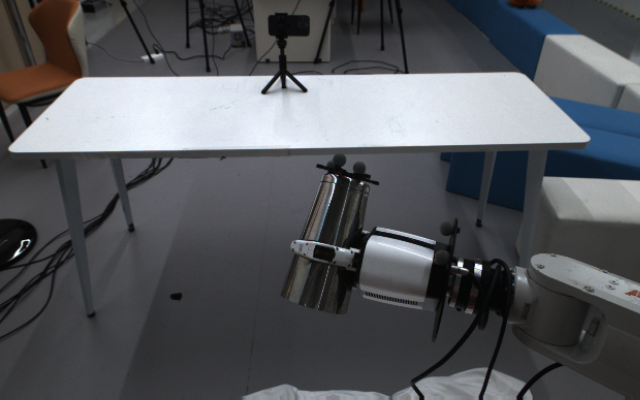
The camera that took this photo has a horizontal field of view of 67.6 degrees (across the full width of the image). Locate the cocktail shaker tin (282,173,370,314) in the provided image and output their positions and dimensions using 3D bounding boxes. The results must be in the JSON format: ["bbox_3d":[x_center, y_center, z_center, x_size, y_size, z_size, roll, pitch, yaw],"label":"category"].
[{"bbox_3d":[0.015,0.056,0.647,0.093,0.170,0.093,15,-4,1],"label":"cocktail shaker tin"}]
